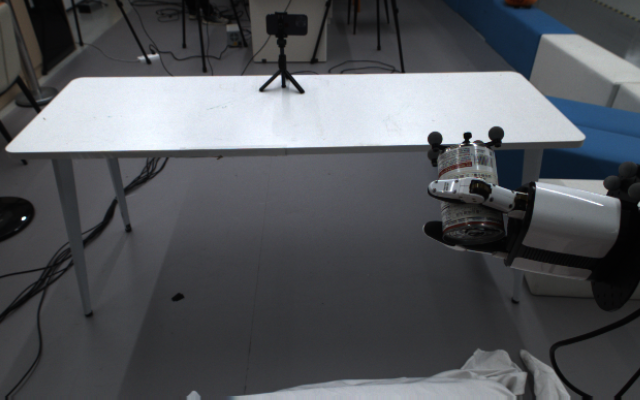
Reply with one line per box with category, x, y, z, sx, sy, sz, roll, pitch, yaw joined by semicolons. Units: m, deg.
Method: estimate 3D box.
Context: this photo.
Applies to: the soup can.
soup can;0.174;-0.006;0.557;0.067;0.067;0.101;2;68;0
